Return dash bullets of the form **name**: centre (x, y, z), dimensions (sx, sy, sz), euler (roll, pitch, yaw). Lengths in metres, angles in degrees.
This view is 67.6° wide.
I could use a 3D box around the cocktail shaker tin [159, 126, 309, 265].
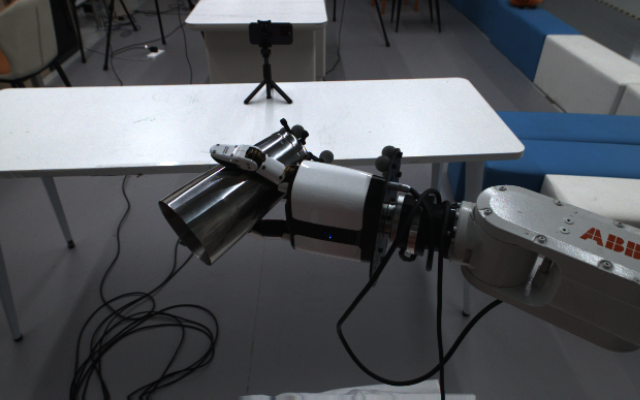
- **cocktail shaker tin**: centre (-0.092, -0.016, 0.577), dimensions (0.170, 0.093, 0.093), euler (-38, 49, -24)
